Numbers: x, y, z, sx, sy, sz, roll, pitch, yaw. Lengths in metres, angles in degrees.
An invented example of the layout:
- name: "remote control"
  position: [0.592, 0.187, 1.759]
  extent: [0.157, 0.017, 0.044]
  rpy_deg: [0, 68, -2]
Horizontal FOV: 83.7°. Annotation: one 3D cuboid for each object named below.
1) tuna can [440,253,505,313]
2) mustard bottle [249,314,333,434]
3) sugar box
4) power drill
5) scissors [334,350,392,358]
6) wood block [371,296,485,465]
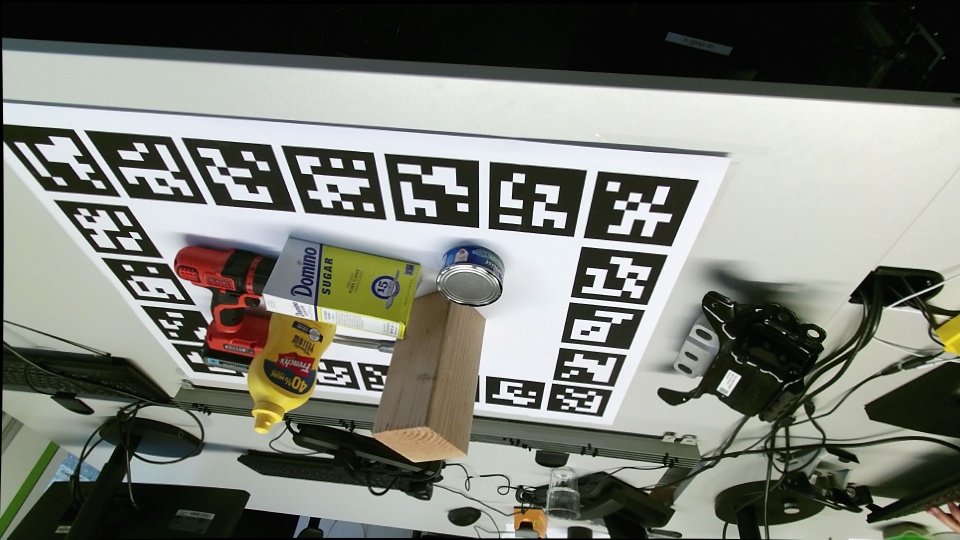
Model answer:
- name: "tuna can"
  position: [-0.011, 0.019, 0.689]
  extent: [0.086, 0.033, 0.086]
  rpy_deg: [5, 136, 5]
- name: "mustard bottle"
  position: [-0.281, 0.144, 0.767]
  extent: [0.058, 0.190, 0.096]
  rpy_deg: [-27, 125, 31]
- name: "sugar box"
  position: [-0.179, 0.027, 0.689]
  extent: [0.177, 0.092, 0.045]
  rpy_deg: [14, 140, -4]
- name: "power drill"
  position: [-0.321, 0.062, 0.773]
  extent: [0.185, 0.057, 0.187]
  rpy_deg: [14, 130, -6]
- name: "scissors"
  position: [-0.134, 0.142, 0.856]
  extent: [0.203, 0.016, 0.088]
  rpy_deg: [7, 141, 2]
- name: "wood block"
  position: [-0.062, 0.142, 0.721]
  extent: [0.091, 0.205, 0.090]
  rpy_deg: [-16, 130, 24]
